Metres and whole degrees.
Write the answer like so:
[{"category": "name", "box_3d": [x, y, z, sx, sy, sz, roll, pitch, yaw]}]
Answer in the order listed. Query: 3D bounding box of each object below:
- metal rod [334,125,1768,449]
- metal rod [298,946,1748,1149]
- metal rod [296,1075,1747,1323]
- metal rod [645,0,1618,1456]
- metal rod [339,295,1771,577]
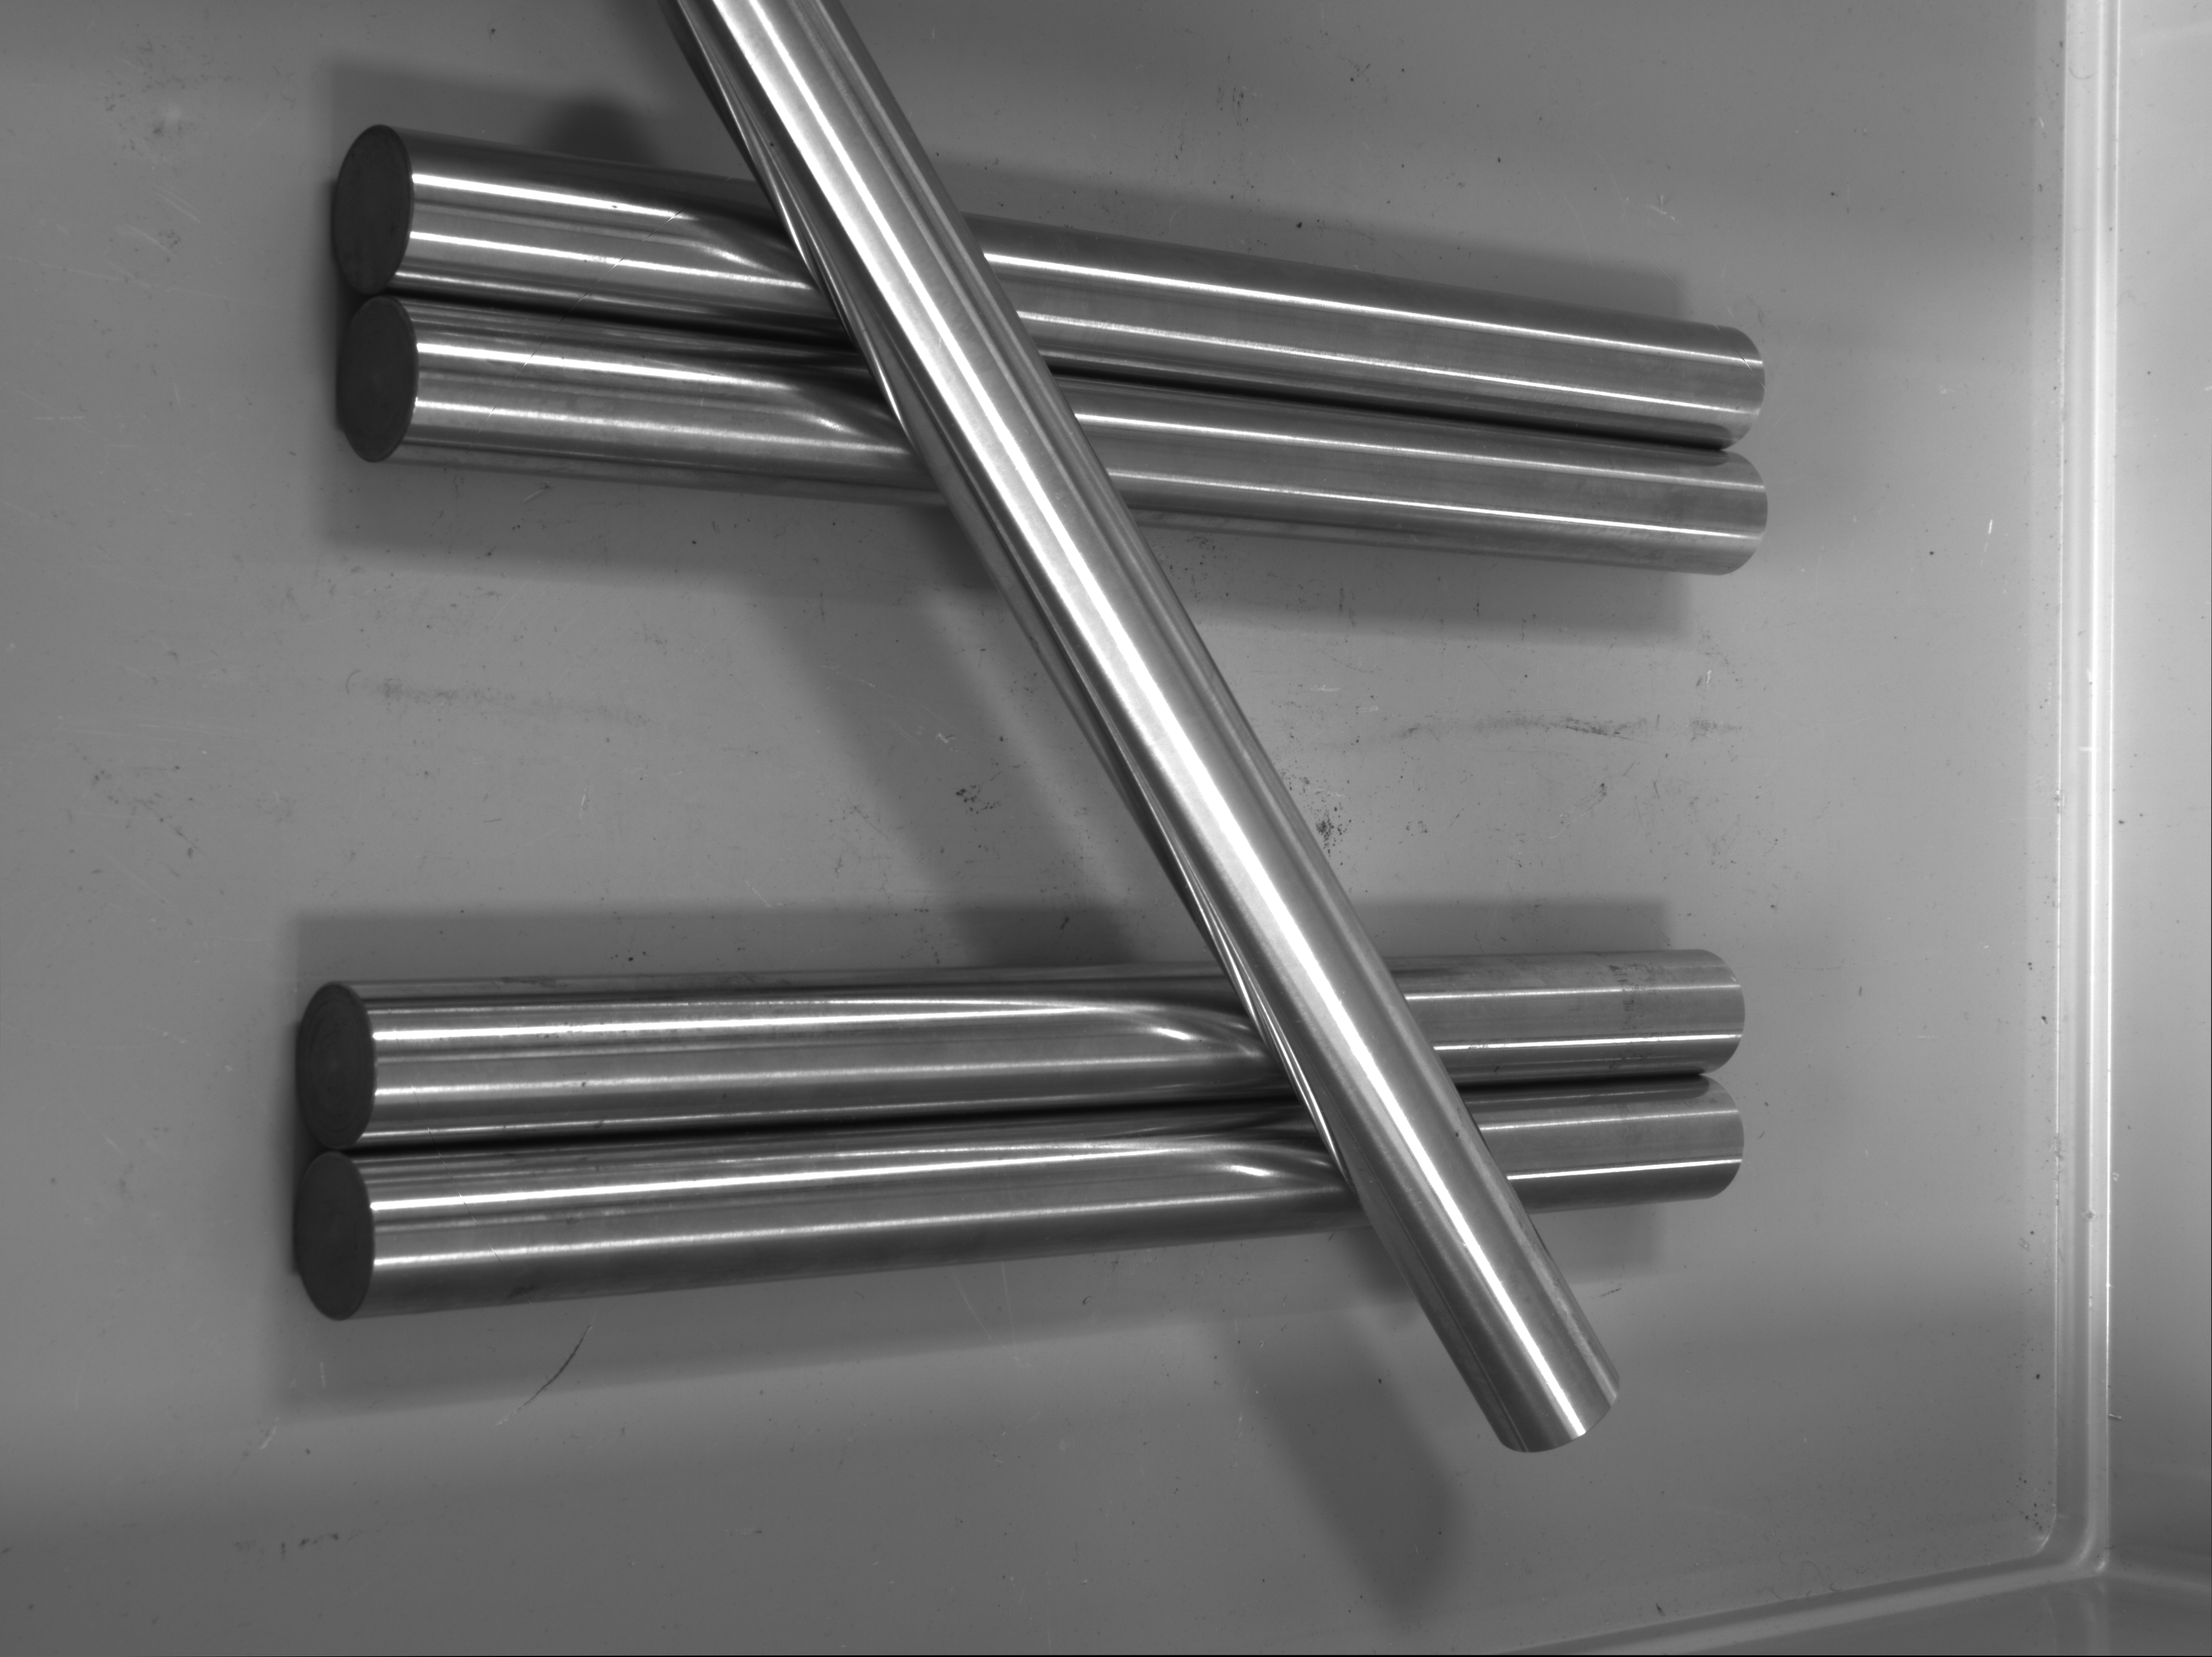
[{"category": "metal rod", "box_3d": [0.007, -0.090, 0.640, 0.301, 0.025, 0.025, 1, 89, -40]}, {"category": "metal rod", "box_3d": [0.003, 0.035, 0.636, 0.301, 0.025, 0.025, 0, 90, -40]}, {"category": "metal rod", "box_3d": [0.003, 0.061, 0.636, 0.301, 0.025, 0.025, 0, 90, -40]}, {"category": "metal rod", "box_3d": [0.011, -0.013, 0.612, 0.025, 0.025, 0.301, -45, 117, -30]}, {"category": "metal rod", "box_3d": [0.008, -0.065, 0.640, 0.301, 0.025, 0.025, 1, 89, -40]}]
